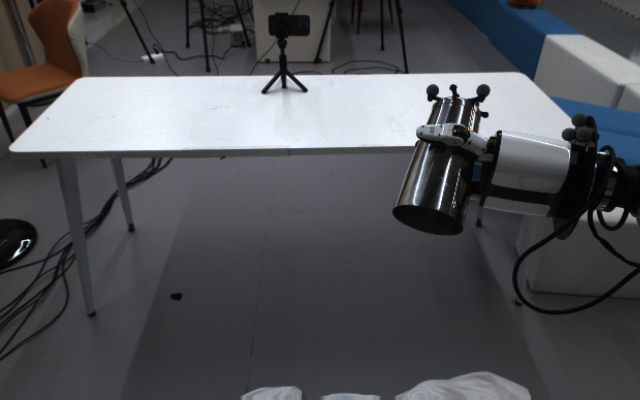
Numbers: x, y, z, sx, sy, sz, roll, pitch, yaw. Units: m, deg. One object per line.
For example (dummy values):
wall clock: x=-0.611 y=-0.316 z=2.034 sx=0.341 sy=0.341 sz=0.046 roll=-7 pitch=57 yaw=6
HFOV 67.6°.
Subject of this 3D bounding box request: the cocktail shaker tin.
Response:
cocktail shaker tin: x=0.164 y=-0.050 z=0.645 sx=0.093 sy=0.093 sz=0.170 roll=13 pitch=70 yaw=16
